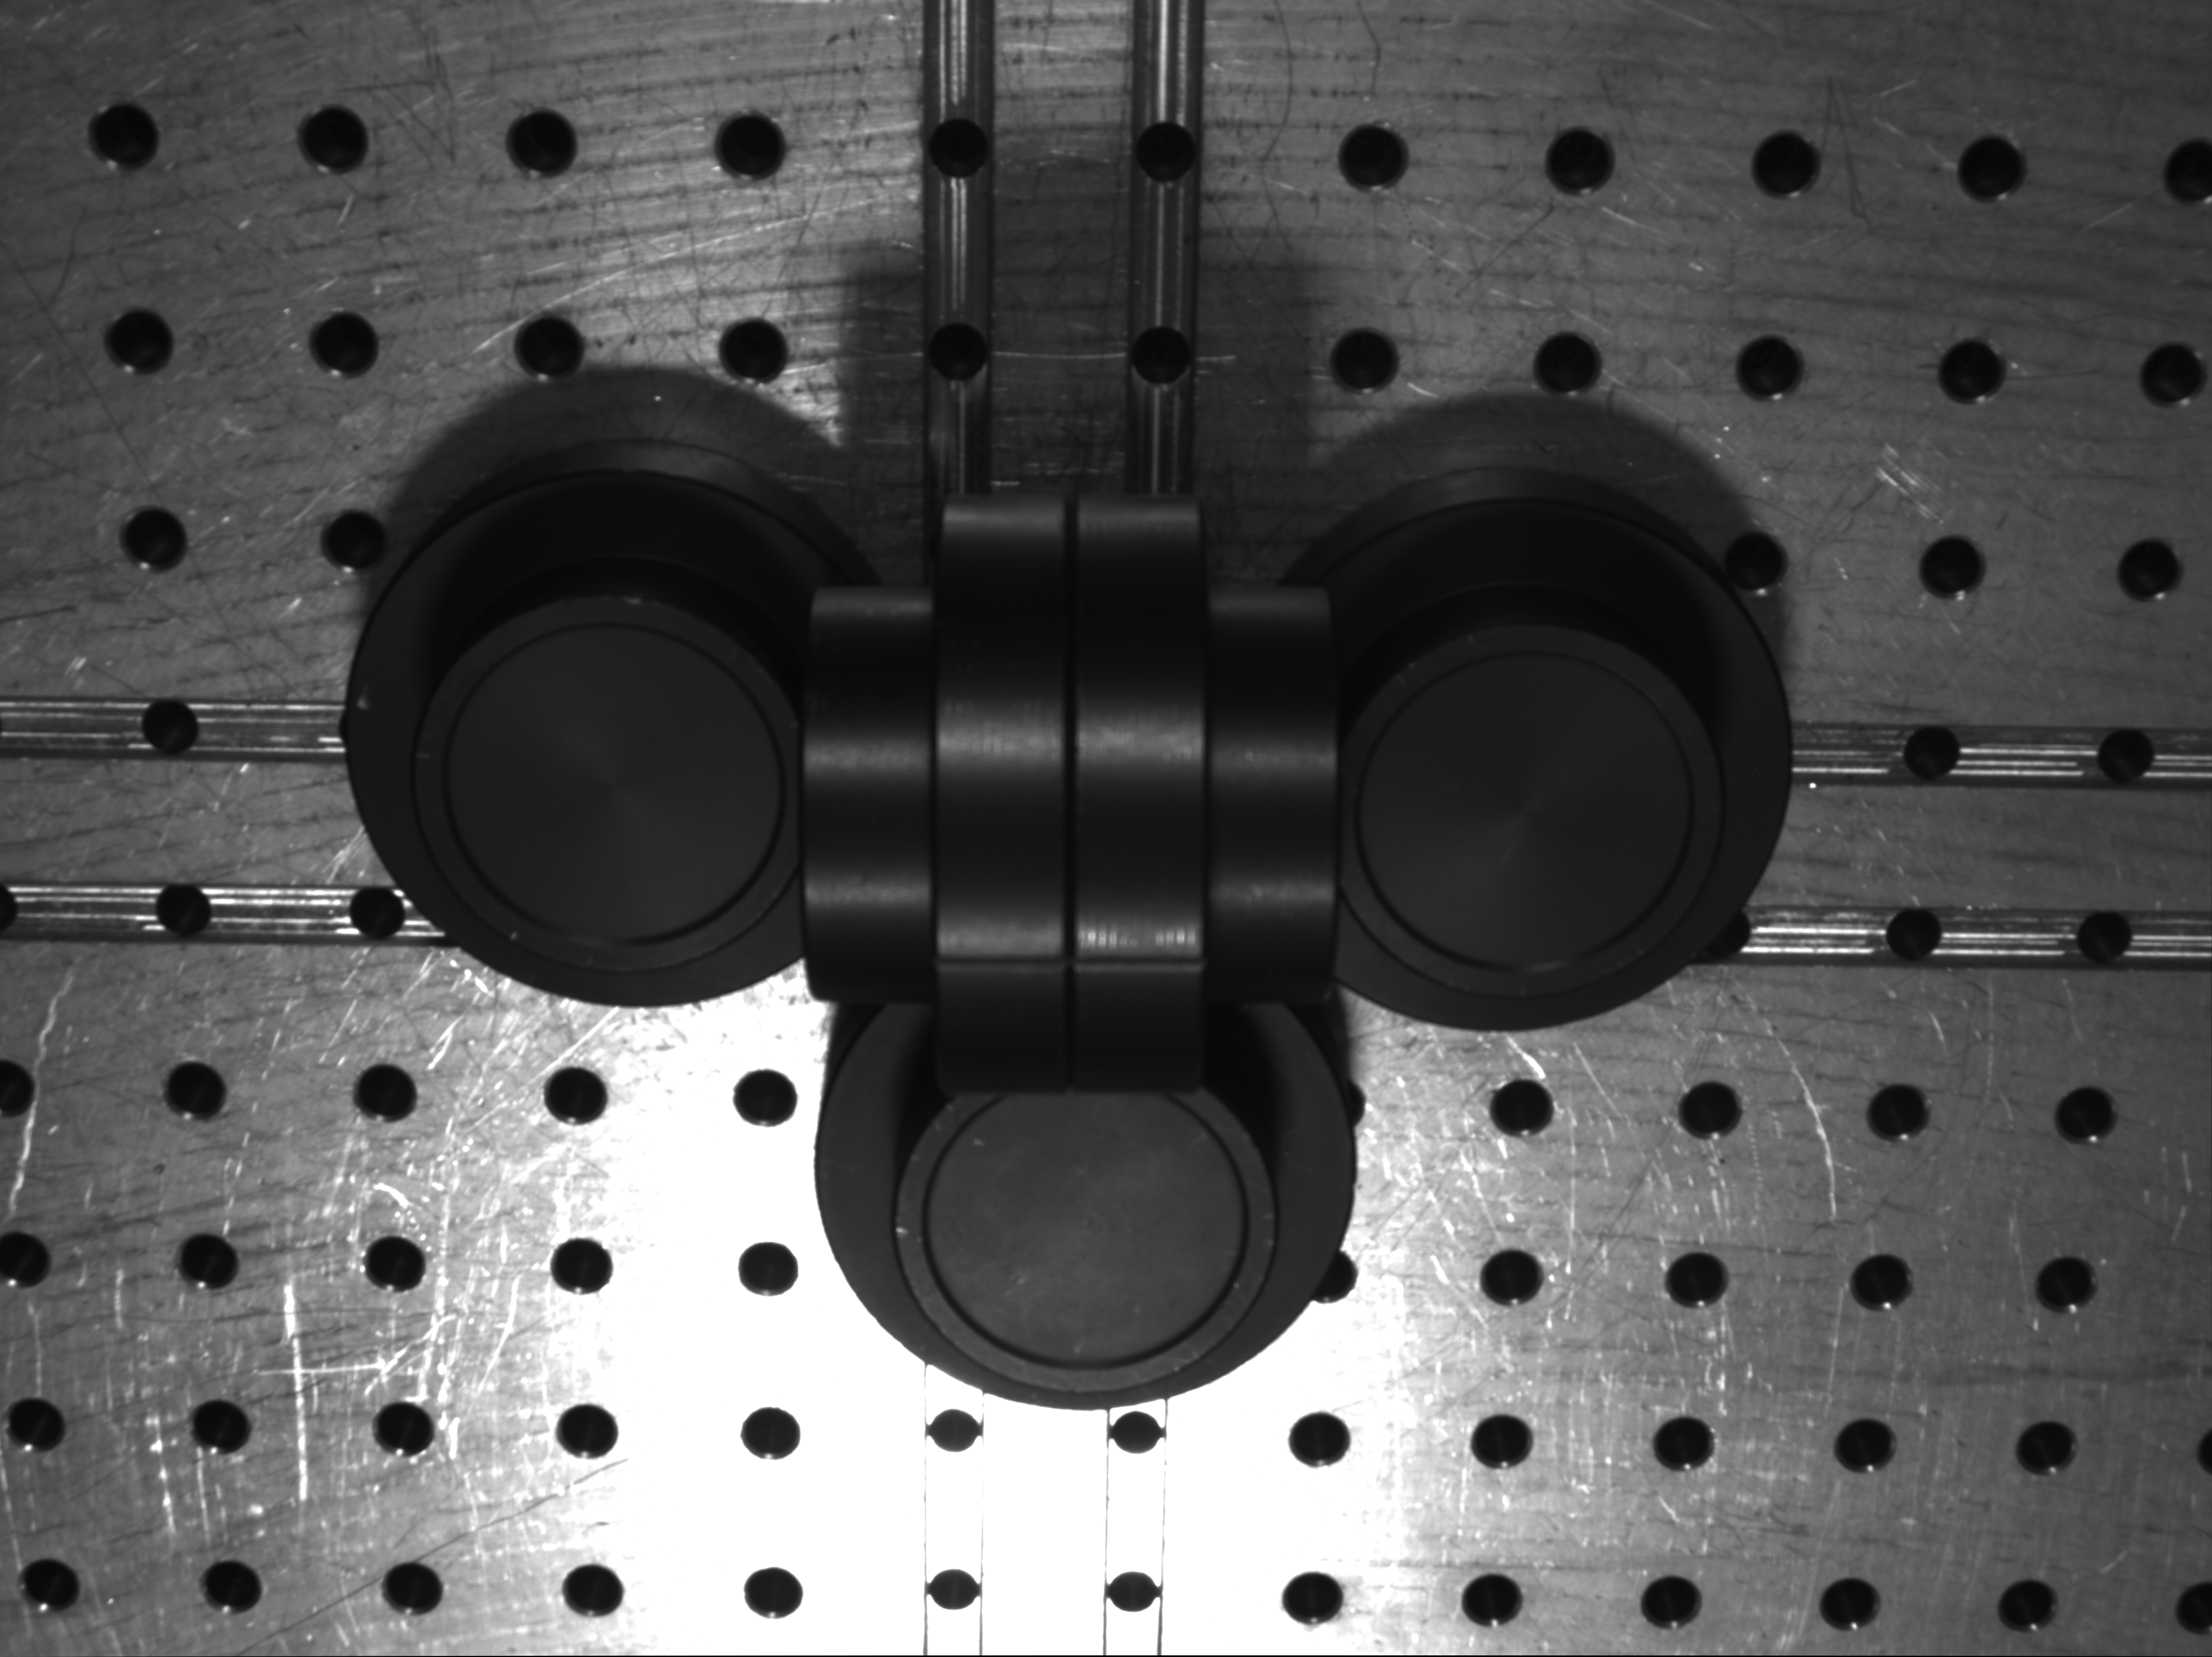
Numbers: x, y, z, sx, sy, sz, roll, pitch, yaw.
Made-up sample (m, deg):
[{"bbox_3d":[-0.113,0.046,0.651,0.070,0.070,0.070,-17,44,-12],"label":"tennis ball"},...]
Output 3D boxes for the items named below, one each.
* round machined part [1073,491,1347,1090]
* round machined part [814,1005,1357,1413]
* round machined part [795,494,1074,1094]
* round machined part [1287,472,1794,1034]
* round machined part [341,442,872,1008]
[{"bbox_3d":[0.016,-0.006,0.599,0.042,0.098,0.098,-1,110,0],"label":"round machined part"},{"bbox_3d":[-0.004,0.062,0.659,0.098,0.042,0.098,0,110,-1],"label":"round machined part"},{"bbox_3d":[-0.027,-0.006,0.598,0.042,0.098,0.098,1,110,-1],"label":"round machined part"},{"bbox_3d":[0.070,-0.009,0.633,0.098,0.042,0.098,0,110,-1],"label":"round machined part"},{"bbox_3d":[-0.083,-0.014,0.630,0.098,0.042,0.098,0,110,-1],"label":"round machined part"}]
